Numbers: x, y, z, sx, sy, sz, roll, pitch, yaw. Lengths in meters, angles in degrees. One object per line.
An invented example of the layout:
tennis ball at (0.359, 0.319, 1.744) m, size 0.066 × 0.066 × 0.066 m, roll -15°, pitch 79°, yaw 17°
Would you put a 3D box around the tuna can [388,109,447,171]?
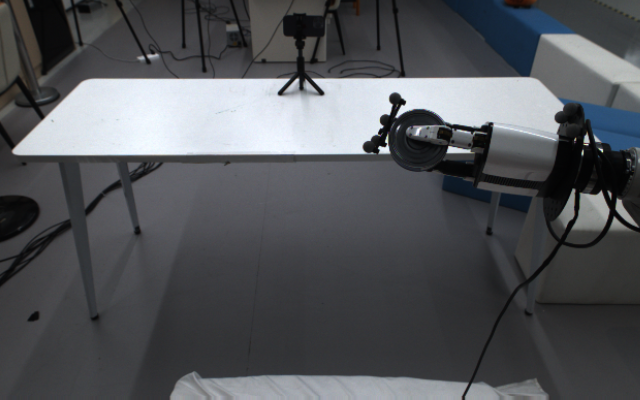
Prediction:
tuna can at (0.141, -0.087, 0.691) m, size 0.085 × 0.085 × 0.034 m, roll 8°, pitch -5°, yaw 9°
